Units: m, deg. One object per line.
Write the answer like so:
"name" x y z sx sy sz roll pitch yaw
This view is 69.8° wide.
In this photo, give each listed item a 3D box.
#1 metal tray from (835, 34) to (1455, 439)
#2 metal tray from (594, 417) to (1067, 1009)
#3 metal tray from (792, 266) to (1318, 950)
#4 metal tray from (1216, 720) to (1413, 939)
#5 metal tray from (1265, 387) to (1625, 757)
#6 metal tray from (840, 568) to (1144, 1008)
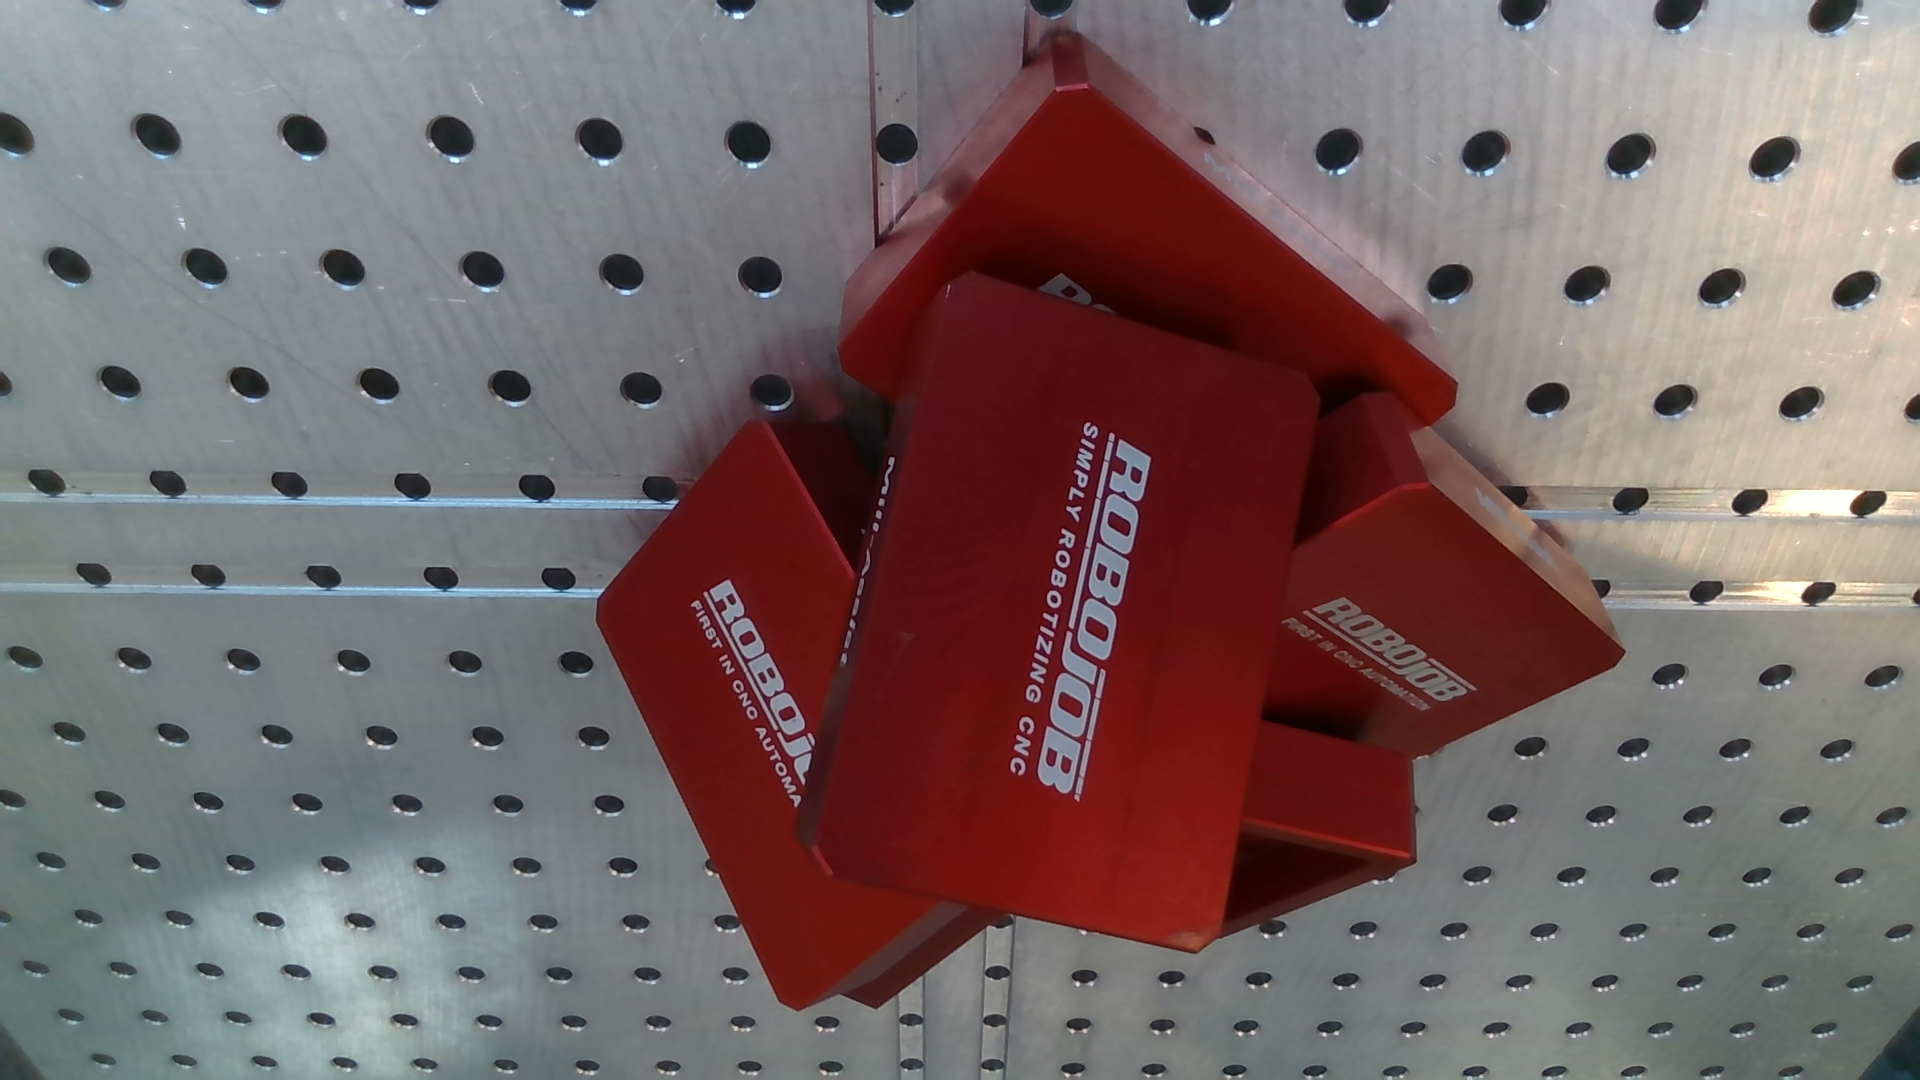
"metal tray" 0.046 -0.049 0.346 0.130 0.030 0.090 31 124 -24
"metal tray" -0.040 0.044 0.365 0.090 0.130 0.030 -44 156 30
"metal tray" 0.022 0.016 0.306 0.090 0.130 0.030 15 171 -12
"metal tray" 0.068 0.092 0.433 0.090 0.030 0.130 14 151 -11
"metal tray" 0.112 0.019 0.380 0.090 0.030 0.130 -34 137 29
"metal tray" 0.001 0.066 0.403 0.030 0.090 0.130 31 124 -24
